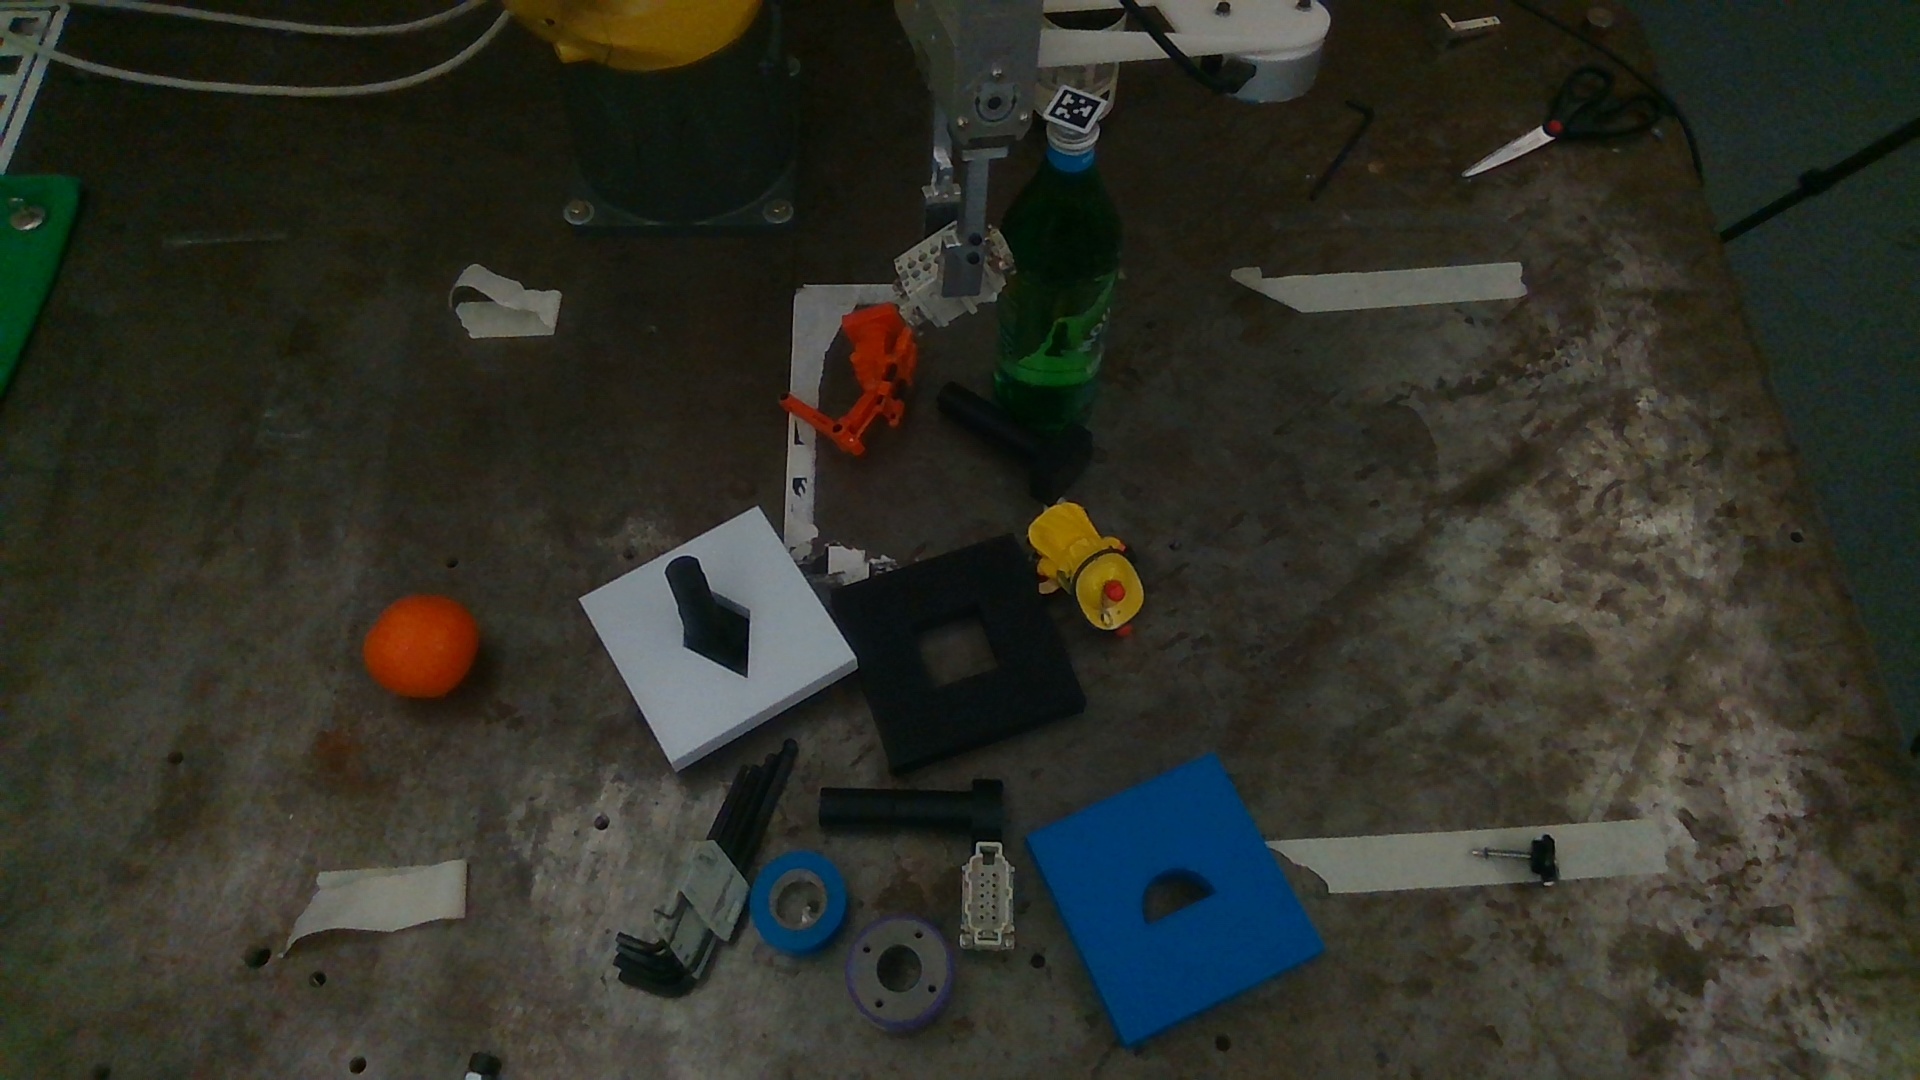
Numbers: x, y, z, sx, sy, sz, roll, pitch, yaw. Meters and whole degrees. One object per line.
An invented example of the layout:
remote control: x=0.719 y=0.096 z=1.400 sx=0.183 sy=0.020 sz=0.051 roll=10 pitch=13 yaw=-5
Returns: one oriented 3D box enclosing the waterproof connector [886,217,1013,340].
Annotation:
waterproof connector: x=-0.006 y=-0.131 z=0.706 sx=0.069 sy=0.038 sz=0.037 roll=-34 pitch=48 yaw=11
